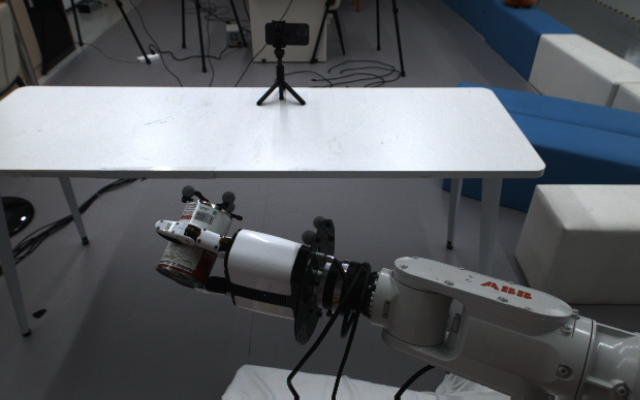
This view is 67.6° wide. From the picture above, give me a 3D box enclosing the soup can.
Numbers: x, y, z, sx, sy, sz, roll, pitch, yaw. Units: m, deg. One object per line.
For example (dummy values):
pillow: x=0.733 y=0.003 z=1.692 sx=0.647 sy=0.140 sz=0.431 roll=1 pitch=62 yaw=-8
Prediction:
soup can: x=-0.166 y=0.060 z=0.650 sx=0.067 sy=0.067 sz=0.101 roll=12 pitch=66 yaw=15
